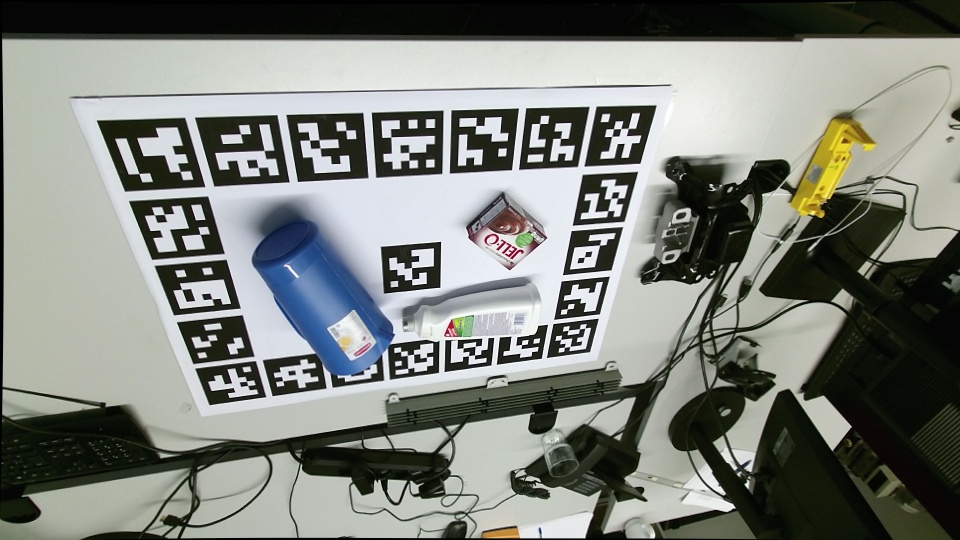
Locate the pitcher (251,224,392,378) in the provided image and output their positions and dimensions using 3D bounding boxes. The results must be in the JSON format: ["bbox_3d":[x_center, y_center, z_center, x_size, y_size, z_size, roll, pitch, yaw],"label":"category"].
[{"bbox_3d":[-0.264,0.050,0.869,0.189,0.133,0.243,-4,129,30],"label":"pitcher"}]

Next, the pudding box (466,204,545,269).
[{"bbox_3d":[0.046,-0.048,0.918,0.090,0.038,0.114,-38,125,19],"label":"pudding box"}]

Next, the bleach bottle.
[{"bbox_3d":[-0.019,0.103,1.000,0.252,0.067,0.102,-7,122,-9],"label":"bleach bottle"}]
